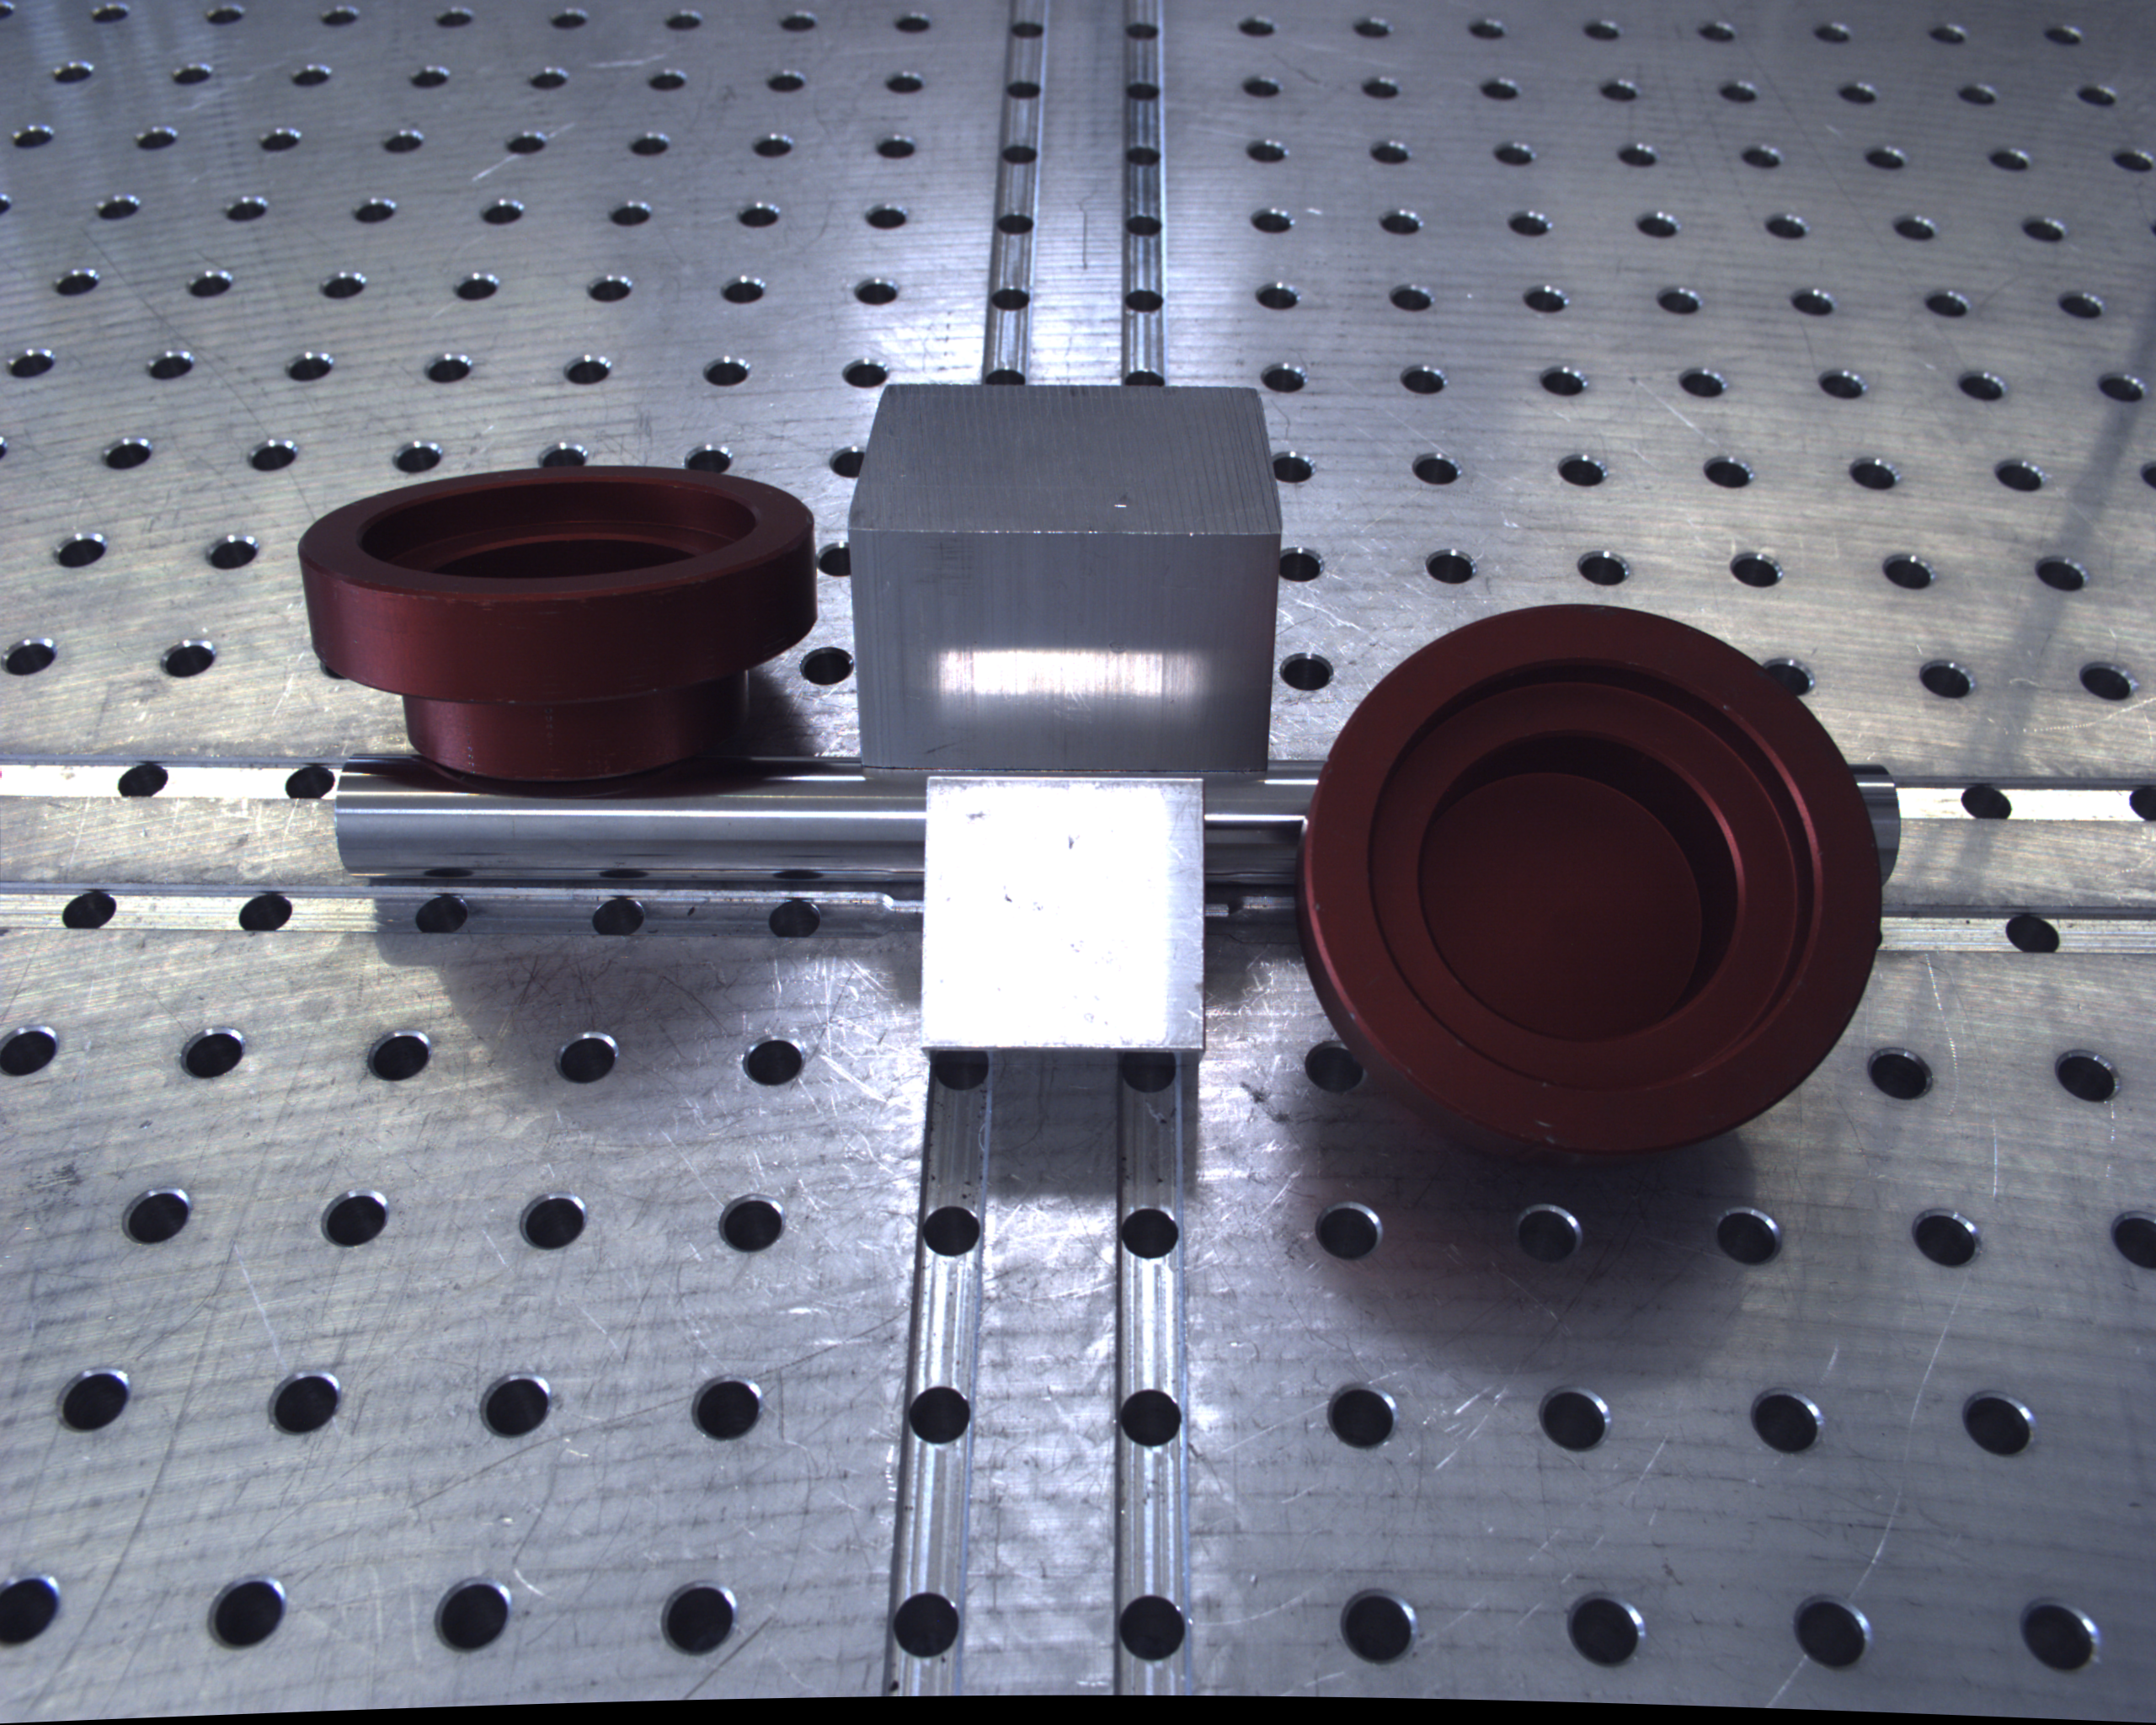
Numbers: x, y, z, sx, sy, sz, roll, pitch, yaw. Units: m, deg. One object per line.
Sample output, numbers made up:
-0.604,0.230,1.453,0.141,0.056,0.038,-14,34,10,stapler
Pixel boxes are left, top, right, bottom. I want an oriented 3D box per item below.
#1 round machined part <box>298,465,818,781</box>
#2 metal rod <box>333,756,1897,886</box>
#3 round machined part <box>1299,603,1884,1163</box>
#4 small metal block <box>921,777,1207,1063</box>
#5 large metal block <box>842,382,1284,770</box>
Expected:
-0.102,-0.048,0.420,0.099,0.042,0.098,0,24,0,round machined part
0.007,-0.008,0.415,0.302,0.025,0.025,0,50,0,metal rod
0.089,0.006,0.376,0.099,0.042,0.098,0,75,0,round machined part
-0.002,0.012,0.385,0.050,0.025,0.050,1,79,0,small metal block
-0.002,-0.061,0.427,0.081,0.050,0.080,1,32,0,large metal block
